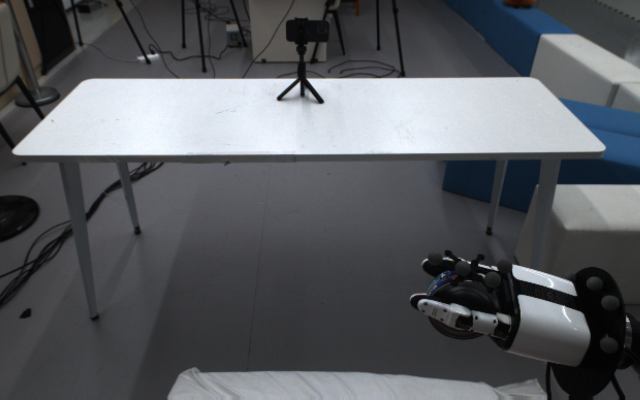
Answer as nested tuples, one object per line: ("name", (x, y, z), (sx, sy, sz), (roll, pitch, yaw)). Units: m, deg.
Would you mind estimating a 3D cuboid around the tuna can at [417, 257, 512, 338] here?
("tuna can", (0.177, 0.126, 0.594), (0.085, 0.085, 0.034), (7, 21, 7))
